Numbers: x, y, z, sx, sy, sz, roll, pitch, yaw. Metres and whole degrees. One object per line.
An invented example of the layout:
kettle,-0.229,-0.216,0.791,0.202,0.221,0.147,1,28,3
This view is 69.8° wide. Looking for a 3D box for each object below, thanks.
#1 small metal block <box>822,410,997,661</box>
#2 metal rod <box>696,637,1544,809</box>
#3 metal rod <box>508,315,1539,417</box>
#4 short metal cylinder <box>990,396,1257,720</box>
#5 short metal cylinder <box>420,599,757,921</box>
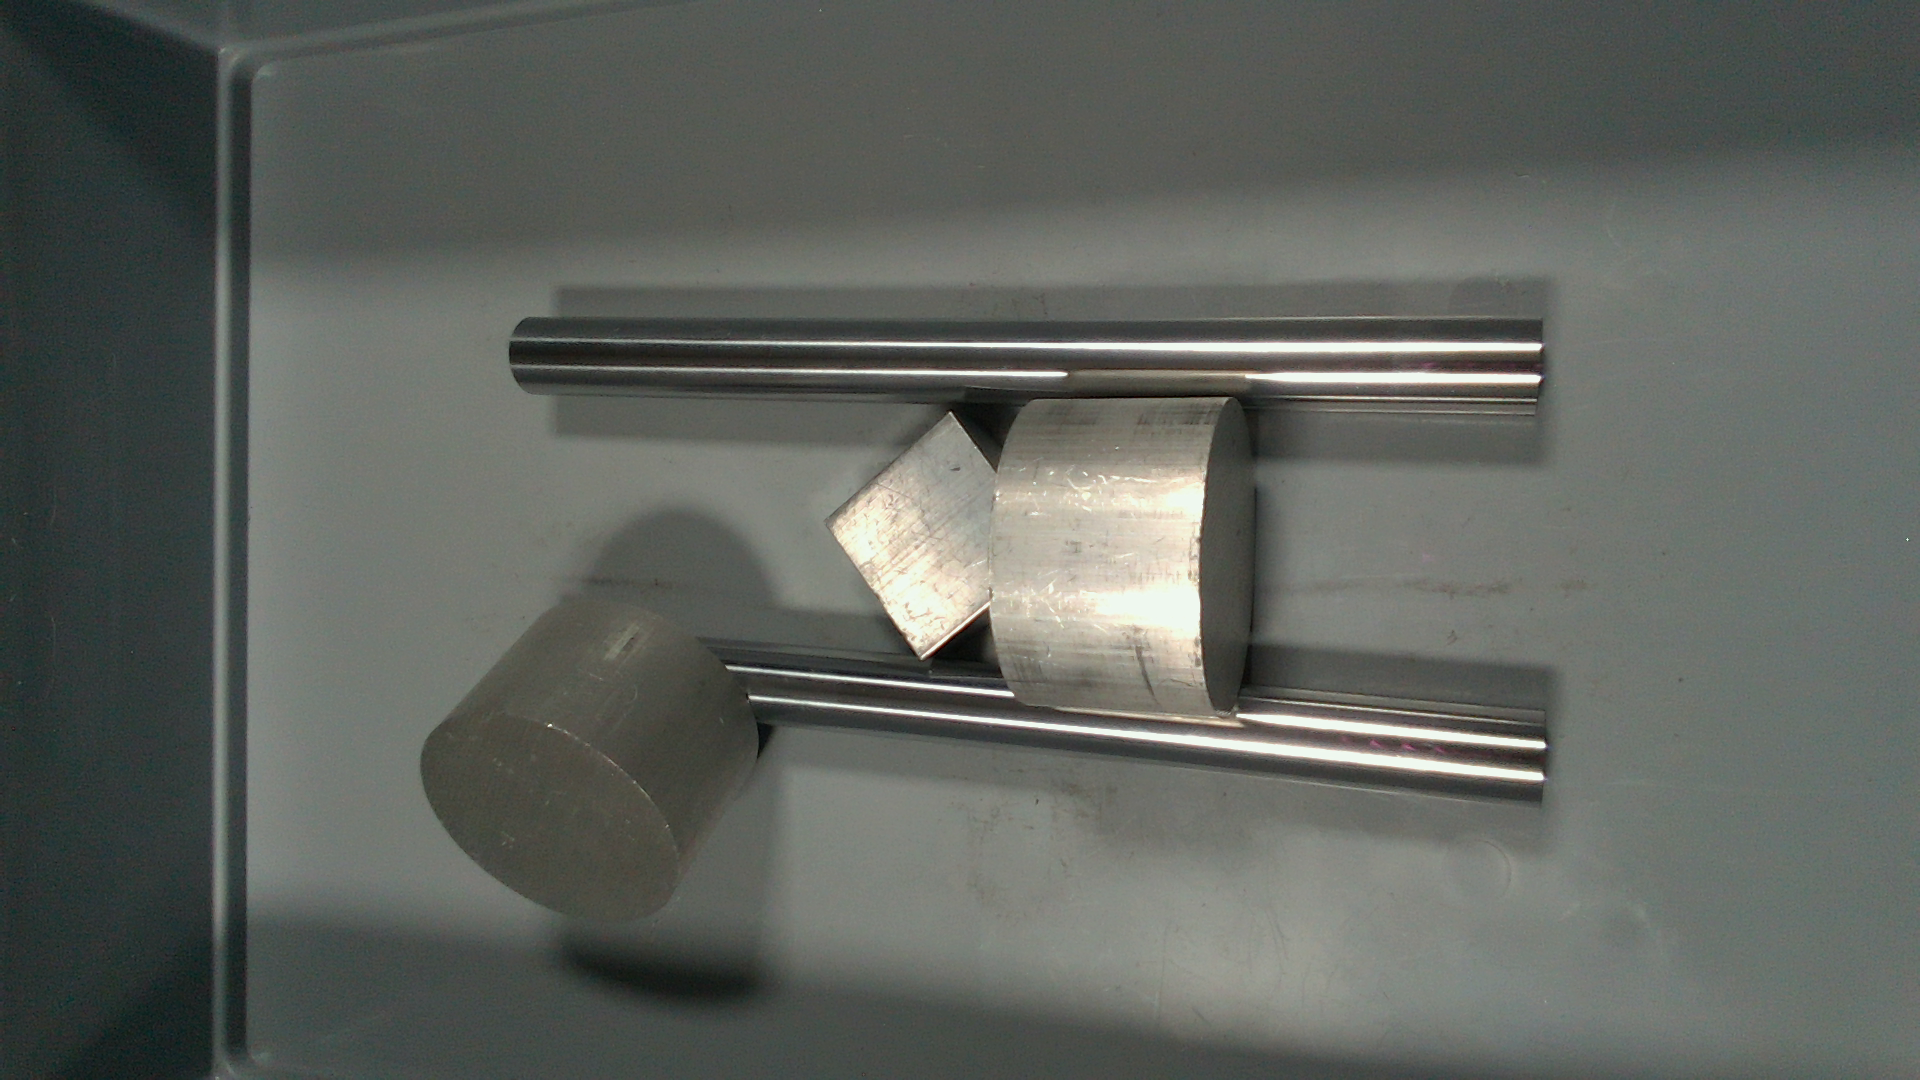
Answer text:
small metal block,-0.003,-0.001,0.396,0.050,0.025,0.050,-40,78,16
metal rod,0.004,0.047,0.393,0.299,0.025,0.025,3,91,20
metal rod,0.003,-0.051,0.393,0.299,0.025,0.025,3,91,20
short metal cylinder,0.044,0.004,0.350,0.050,0.080,0.080,2,91,20
short metal cylinder,-0.107,0.064,0.402,0.080,0.050,0.080,11,128,15
